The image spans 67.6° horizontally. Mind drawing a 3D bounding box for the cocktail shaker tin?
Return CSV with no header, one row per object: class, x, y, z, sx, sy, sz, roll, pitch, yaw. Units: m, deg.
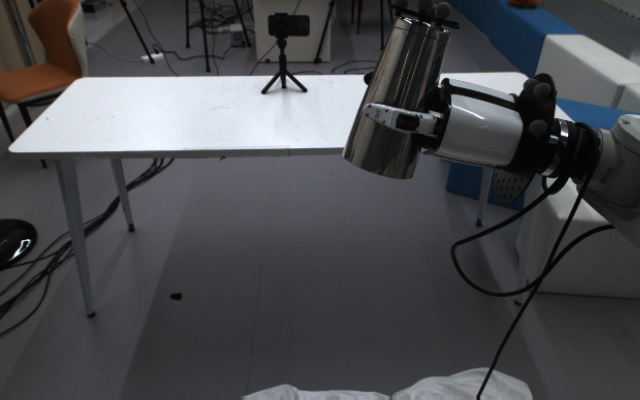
cocktail shaker tin,0.096,-0.122,0.576,0.093,0.170,0.093,14,19,-5
